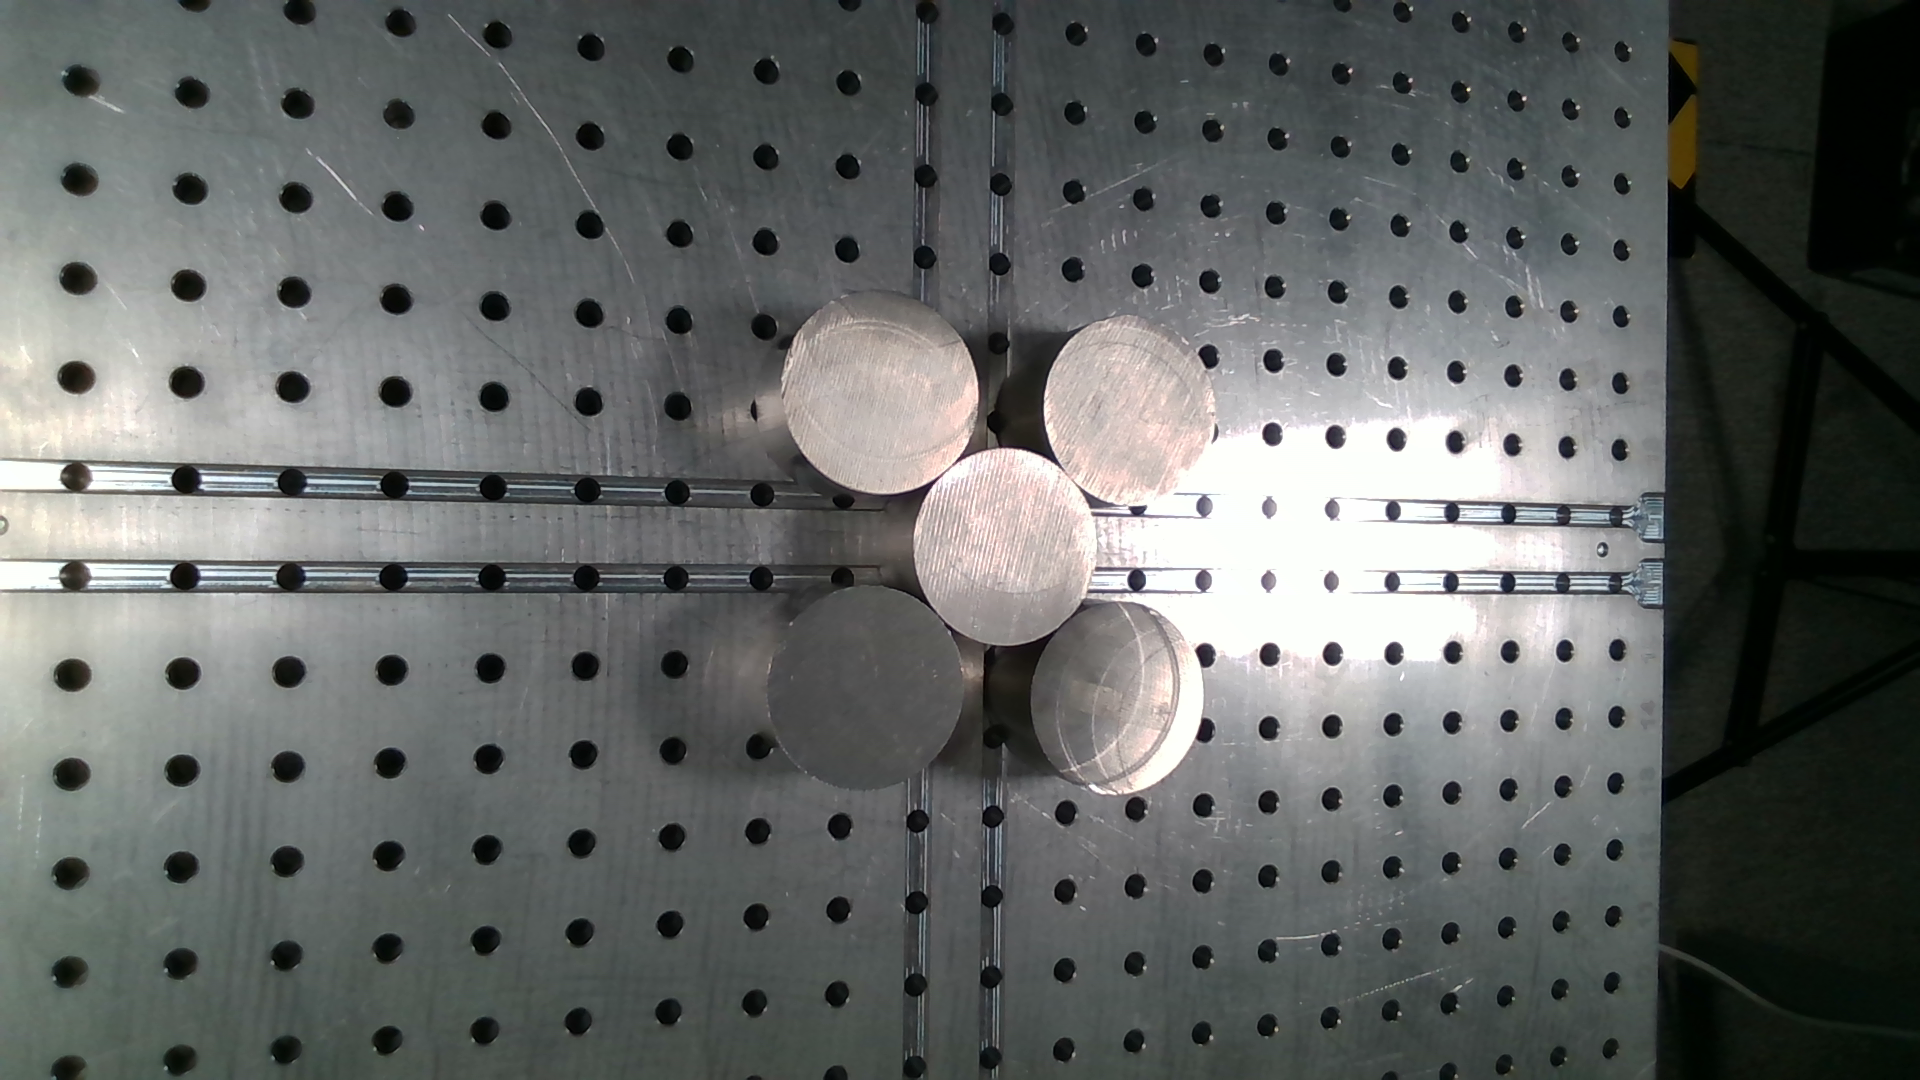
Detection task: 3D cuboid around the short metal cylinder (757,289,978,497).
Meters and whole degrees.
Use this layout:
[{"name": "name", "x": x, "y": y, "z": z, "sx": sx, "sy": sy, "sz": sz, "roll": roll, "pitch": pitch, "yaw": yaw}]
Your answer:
[{"name": "short metal cylinder", "x": -0.039, "y": -0.057, "z": 0.559, "sx": 0.080, "sy": 0.050, "sz": 0.080, "roll": 0, "pitch": 90, "yaw": -20}]

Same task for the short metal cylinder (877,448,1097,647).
[{"name": "short metal cylinder", "x": 0.011, "y": 0.003, "z": 0.578, "sx": 0.080, "sy": 0.050, "sz": 0.080, "roll": 0, "pitch": 90, "yaw": -20}]

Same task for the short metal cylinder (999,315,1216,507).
[{"name": "short metal cylinder", "x": 0.063, "y": -0.054, "z": 0.598, "sx": 0.080, "sy": 0.050, "sz": 0.080, "roll": 0, "pitch": 90, "yaw": -20}]

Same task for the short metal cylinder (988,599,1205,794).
[{"name": "short metal cylinder", "x": 0.058, "y": 0.065, "z": 0.595, "sx": 0.080, "sy": 0.050, "sz": 0.080, "roll": 0, "pitch": 90, "yaw": -20}]

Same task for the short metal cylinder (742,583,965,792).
[{"name": "short metal cylinder", "x": -0.044, "y": 0.058, "z": 0.558, "sx": 0.080, "sy": 0.050, "sz": 0.080, "roll": 0, "pitch": 90, "yaw": -20}]
